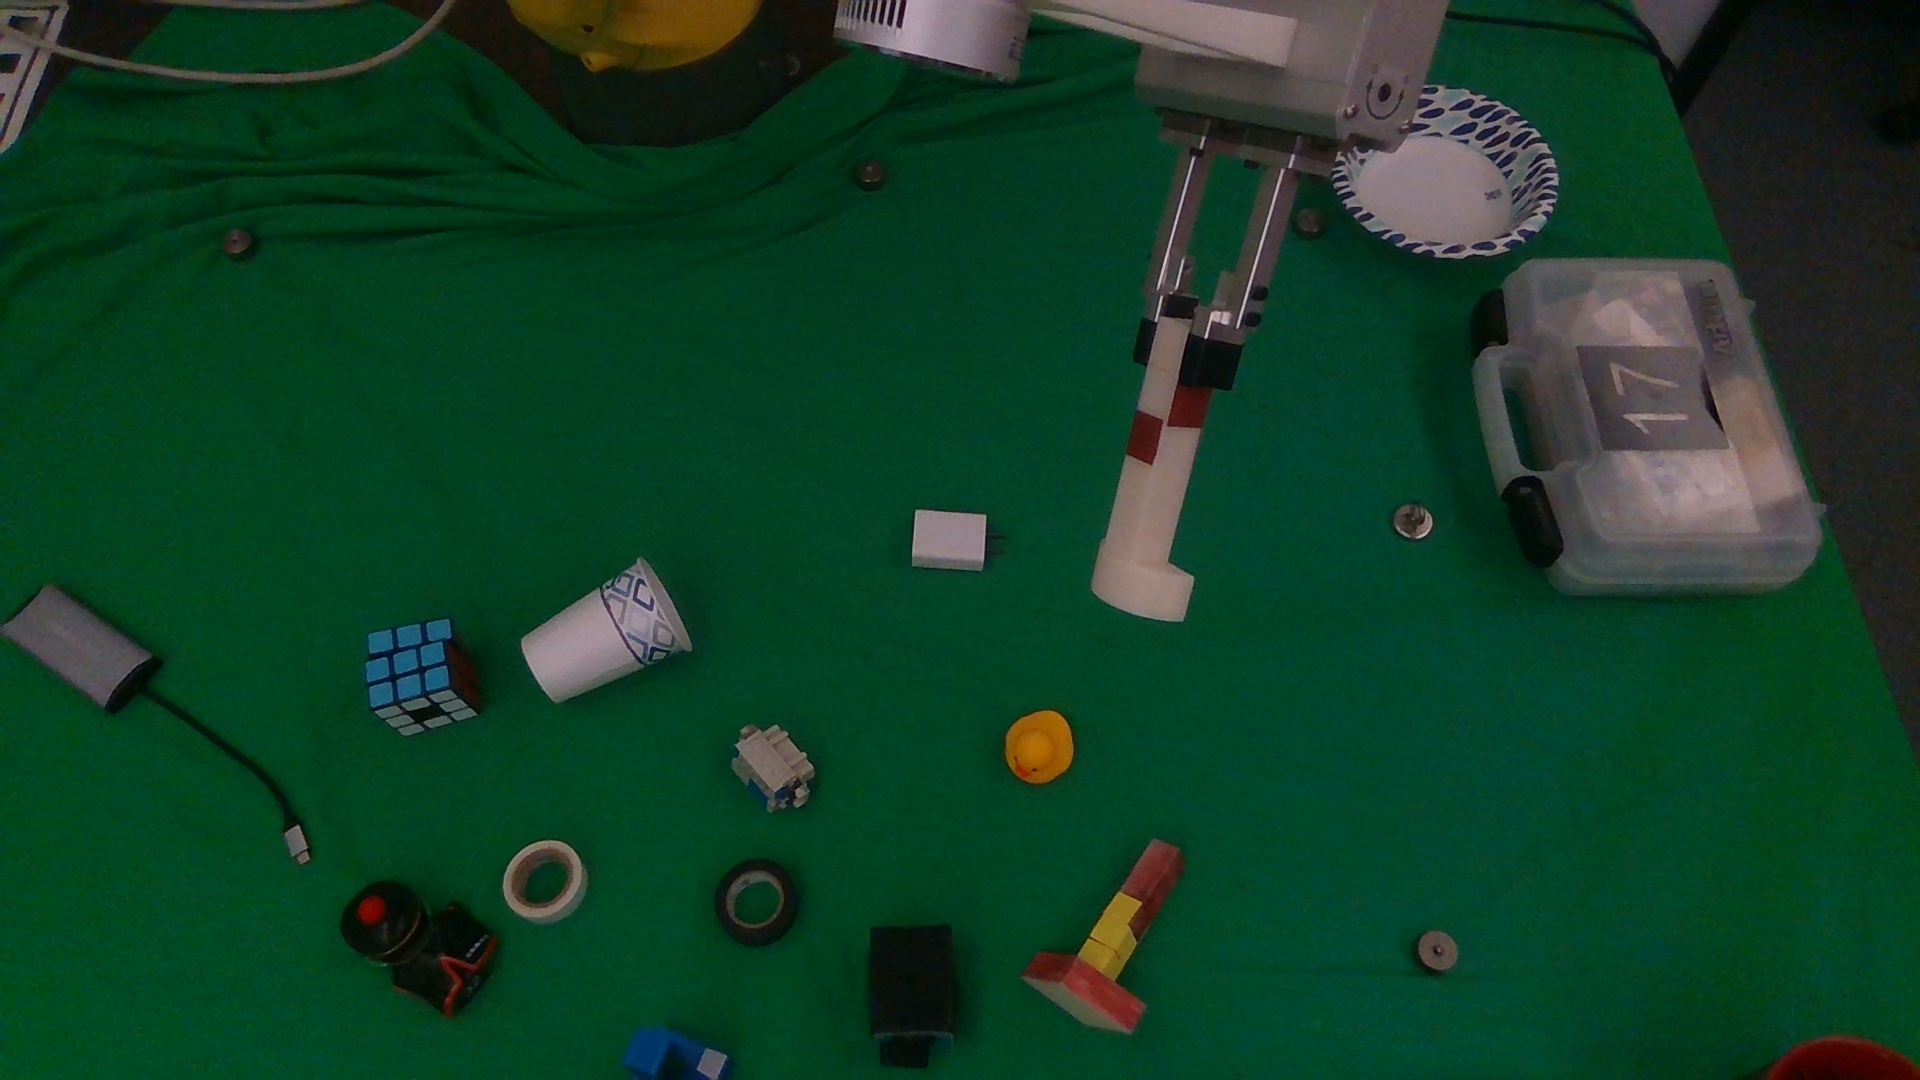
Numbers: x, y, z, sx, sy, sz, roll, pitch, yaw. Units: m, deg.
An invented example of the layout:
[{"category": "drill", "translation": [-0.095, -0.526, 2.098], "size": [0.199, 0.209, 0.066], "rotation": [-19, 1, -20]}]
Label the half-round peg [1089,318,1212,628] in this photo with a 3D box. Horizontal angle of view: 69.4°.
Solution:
[{"category": "half-round peg", "translation": [0.080, -0.029, 0.557], "size": [0.031, 0.122, 0.054], "rotation": [-1, 21, -30]}]

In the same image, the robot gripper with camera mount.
[{"category": "robot gripper with camera mount", "translation": [0.037, -0.135, 0.475], "size": [0.193, 0.158, 0.119], "rotation": [3, 17, -33]}]
